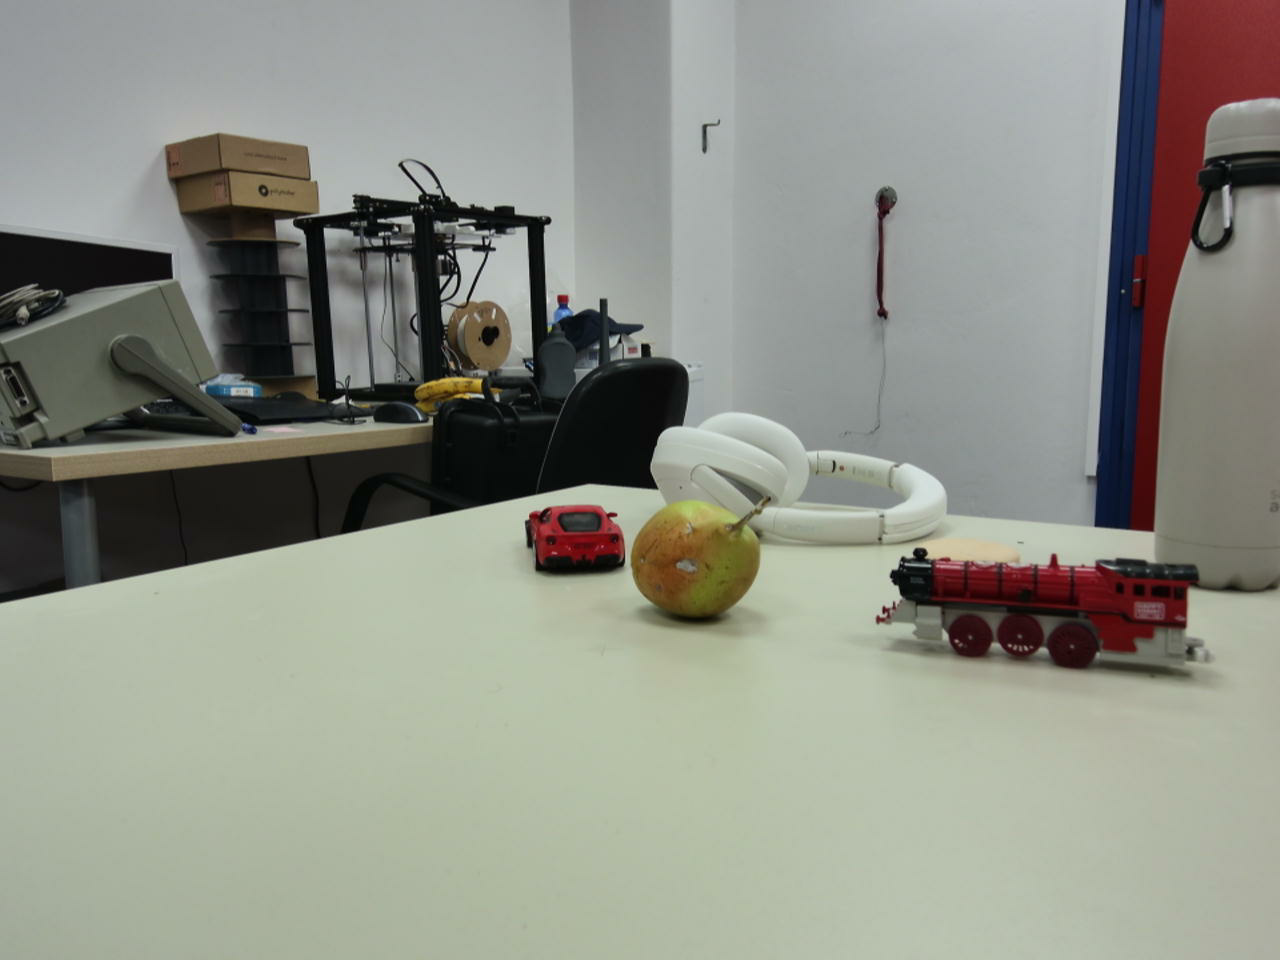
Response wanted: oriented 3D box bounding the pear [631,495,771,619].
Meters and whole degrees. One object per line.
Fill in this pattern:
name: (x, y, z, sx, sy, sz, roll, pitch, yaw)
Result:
pear: (0.029, 0.039, 0.538, 0.068, 0.069, 0.070, 1, 6, -3)
